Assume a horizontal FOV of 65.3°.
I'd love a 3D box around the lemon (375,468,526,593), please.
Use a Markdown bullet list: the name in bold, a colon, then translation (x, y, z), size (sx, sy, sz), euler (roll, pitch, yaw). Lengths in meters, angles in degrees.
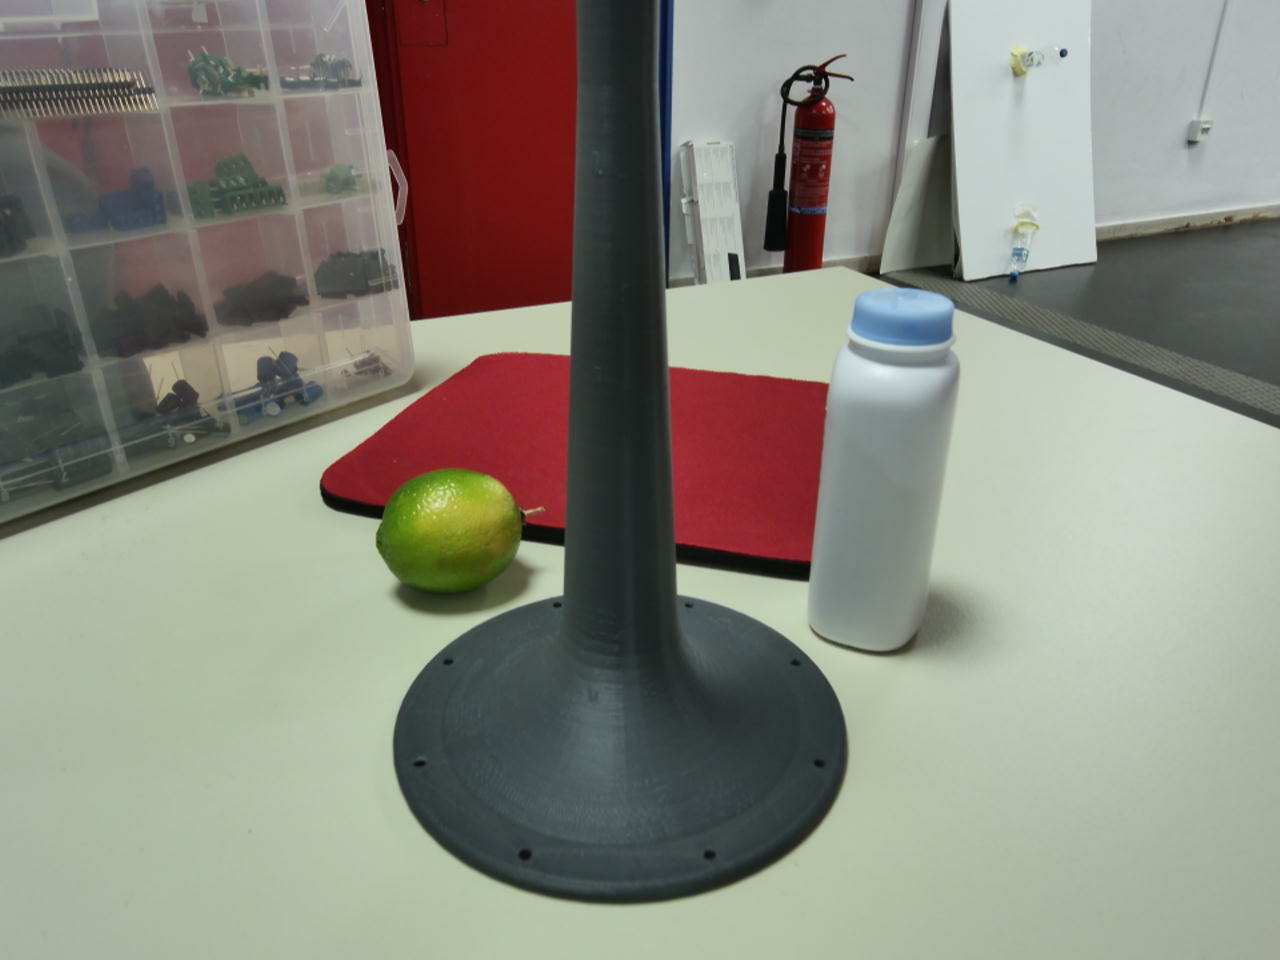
- **lemon**: translation (-0.077, 0.020, 0.409), size (0.055, 0.050, 0.054), euler (10, 26, 21)
